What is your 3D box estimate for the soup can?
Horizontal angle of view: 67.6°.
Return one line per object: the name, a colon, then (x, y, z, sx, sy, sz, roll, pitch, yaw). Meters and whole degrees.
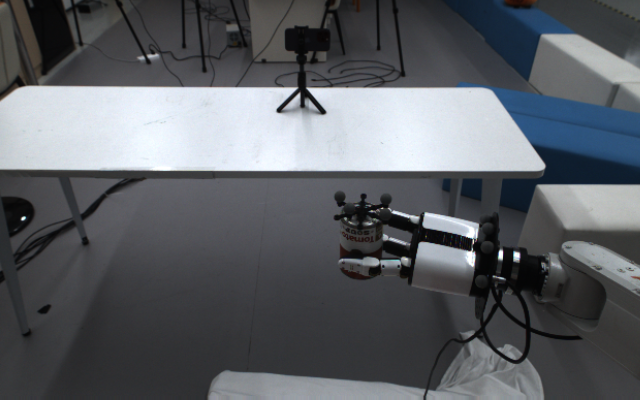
soup can: (0.065, 0.061, 0.742, 0.067, 0.101, 0.067, -2, 34, 1)
